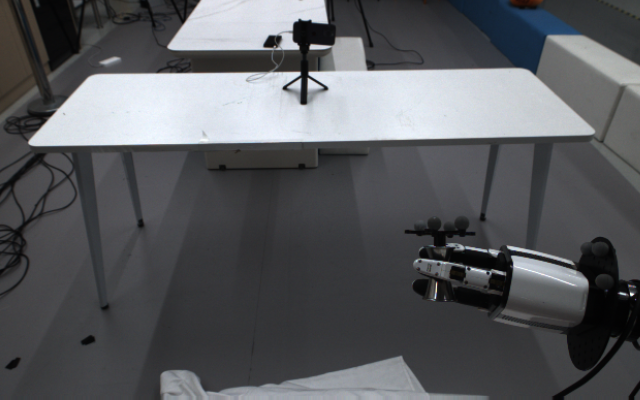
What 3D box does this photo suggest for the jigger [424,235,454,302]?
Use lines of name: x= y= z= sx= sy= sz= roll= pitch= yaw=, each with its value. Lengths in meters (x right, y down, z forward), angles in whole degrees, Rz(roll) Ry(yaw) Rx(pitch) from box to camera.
jigger: x=0.152 y=0.092 z=0.618 sx=0.043 sy=0.071 sz=0.043 roll=1 pitch=-6 yaw=0
